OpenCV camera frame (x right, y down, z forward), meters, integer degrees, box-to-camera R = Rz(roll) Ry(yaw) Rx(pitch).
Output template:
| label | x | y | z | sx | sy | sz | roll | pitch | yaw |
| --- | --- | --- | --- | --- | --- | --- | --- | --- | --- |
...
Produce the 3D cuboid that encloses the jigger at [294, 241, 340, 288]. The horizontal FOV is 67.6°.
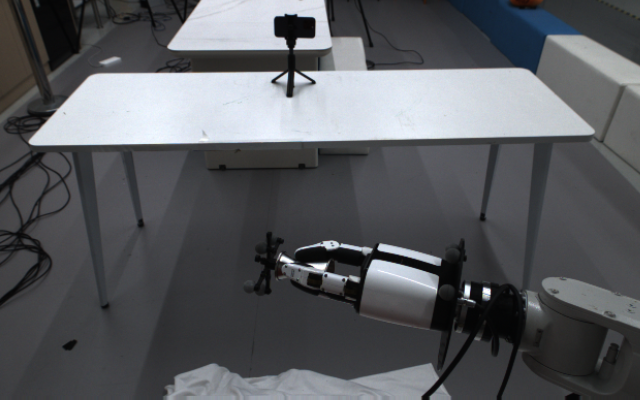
| label | x | y | z | sx | sy | sz | roll | pitch | yaw |
| --- | --- | --- | --- | --- | --- | --- | --- | --- | --- |
| jigger | -0.013 | 0.087 | 0.624 | 0.071 | 0.043 | 0.043 | 8 | 35 | 16 |
